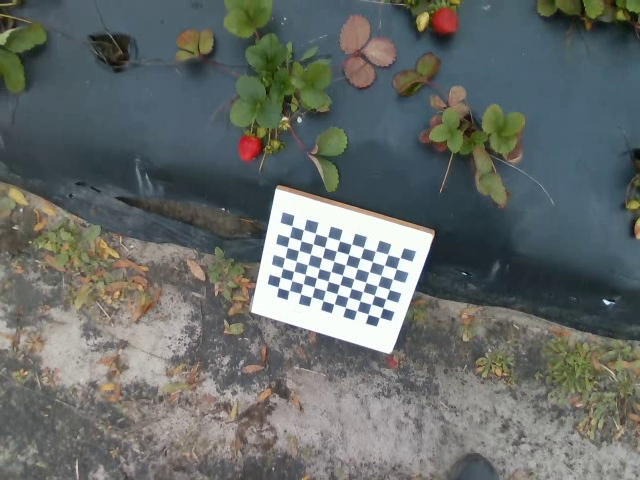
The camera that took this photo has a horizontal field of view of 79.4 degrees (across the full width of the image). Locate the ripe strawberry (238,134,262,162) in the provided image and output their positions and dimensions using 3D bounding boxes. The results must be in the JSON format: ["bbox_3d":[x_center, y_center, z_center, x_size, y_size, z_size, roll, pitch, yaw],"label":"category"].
[{"bbox_3d":[-0.036,-0.049,0.181,0.018,0.017,0.014,17,-16,-8],"label":"ripe strawberry"}]
